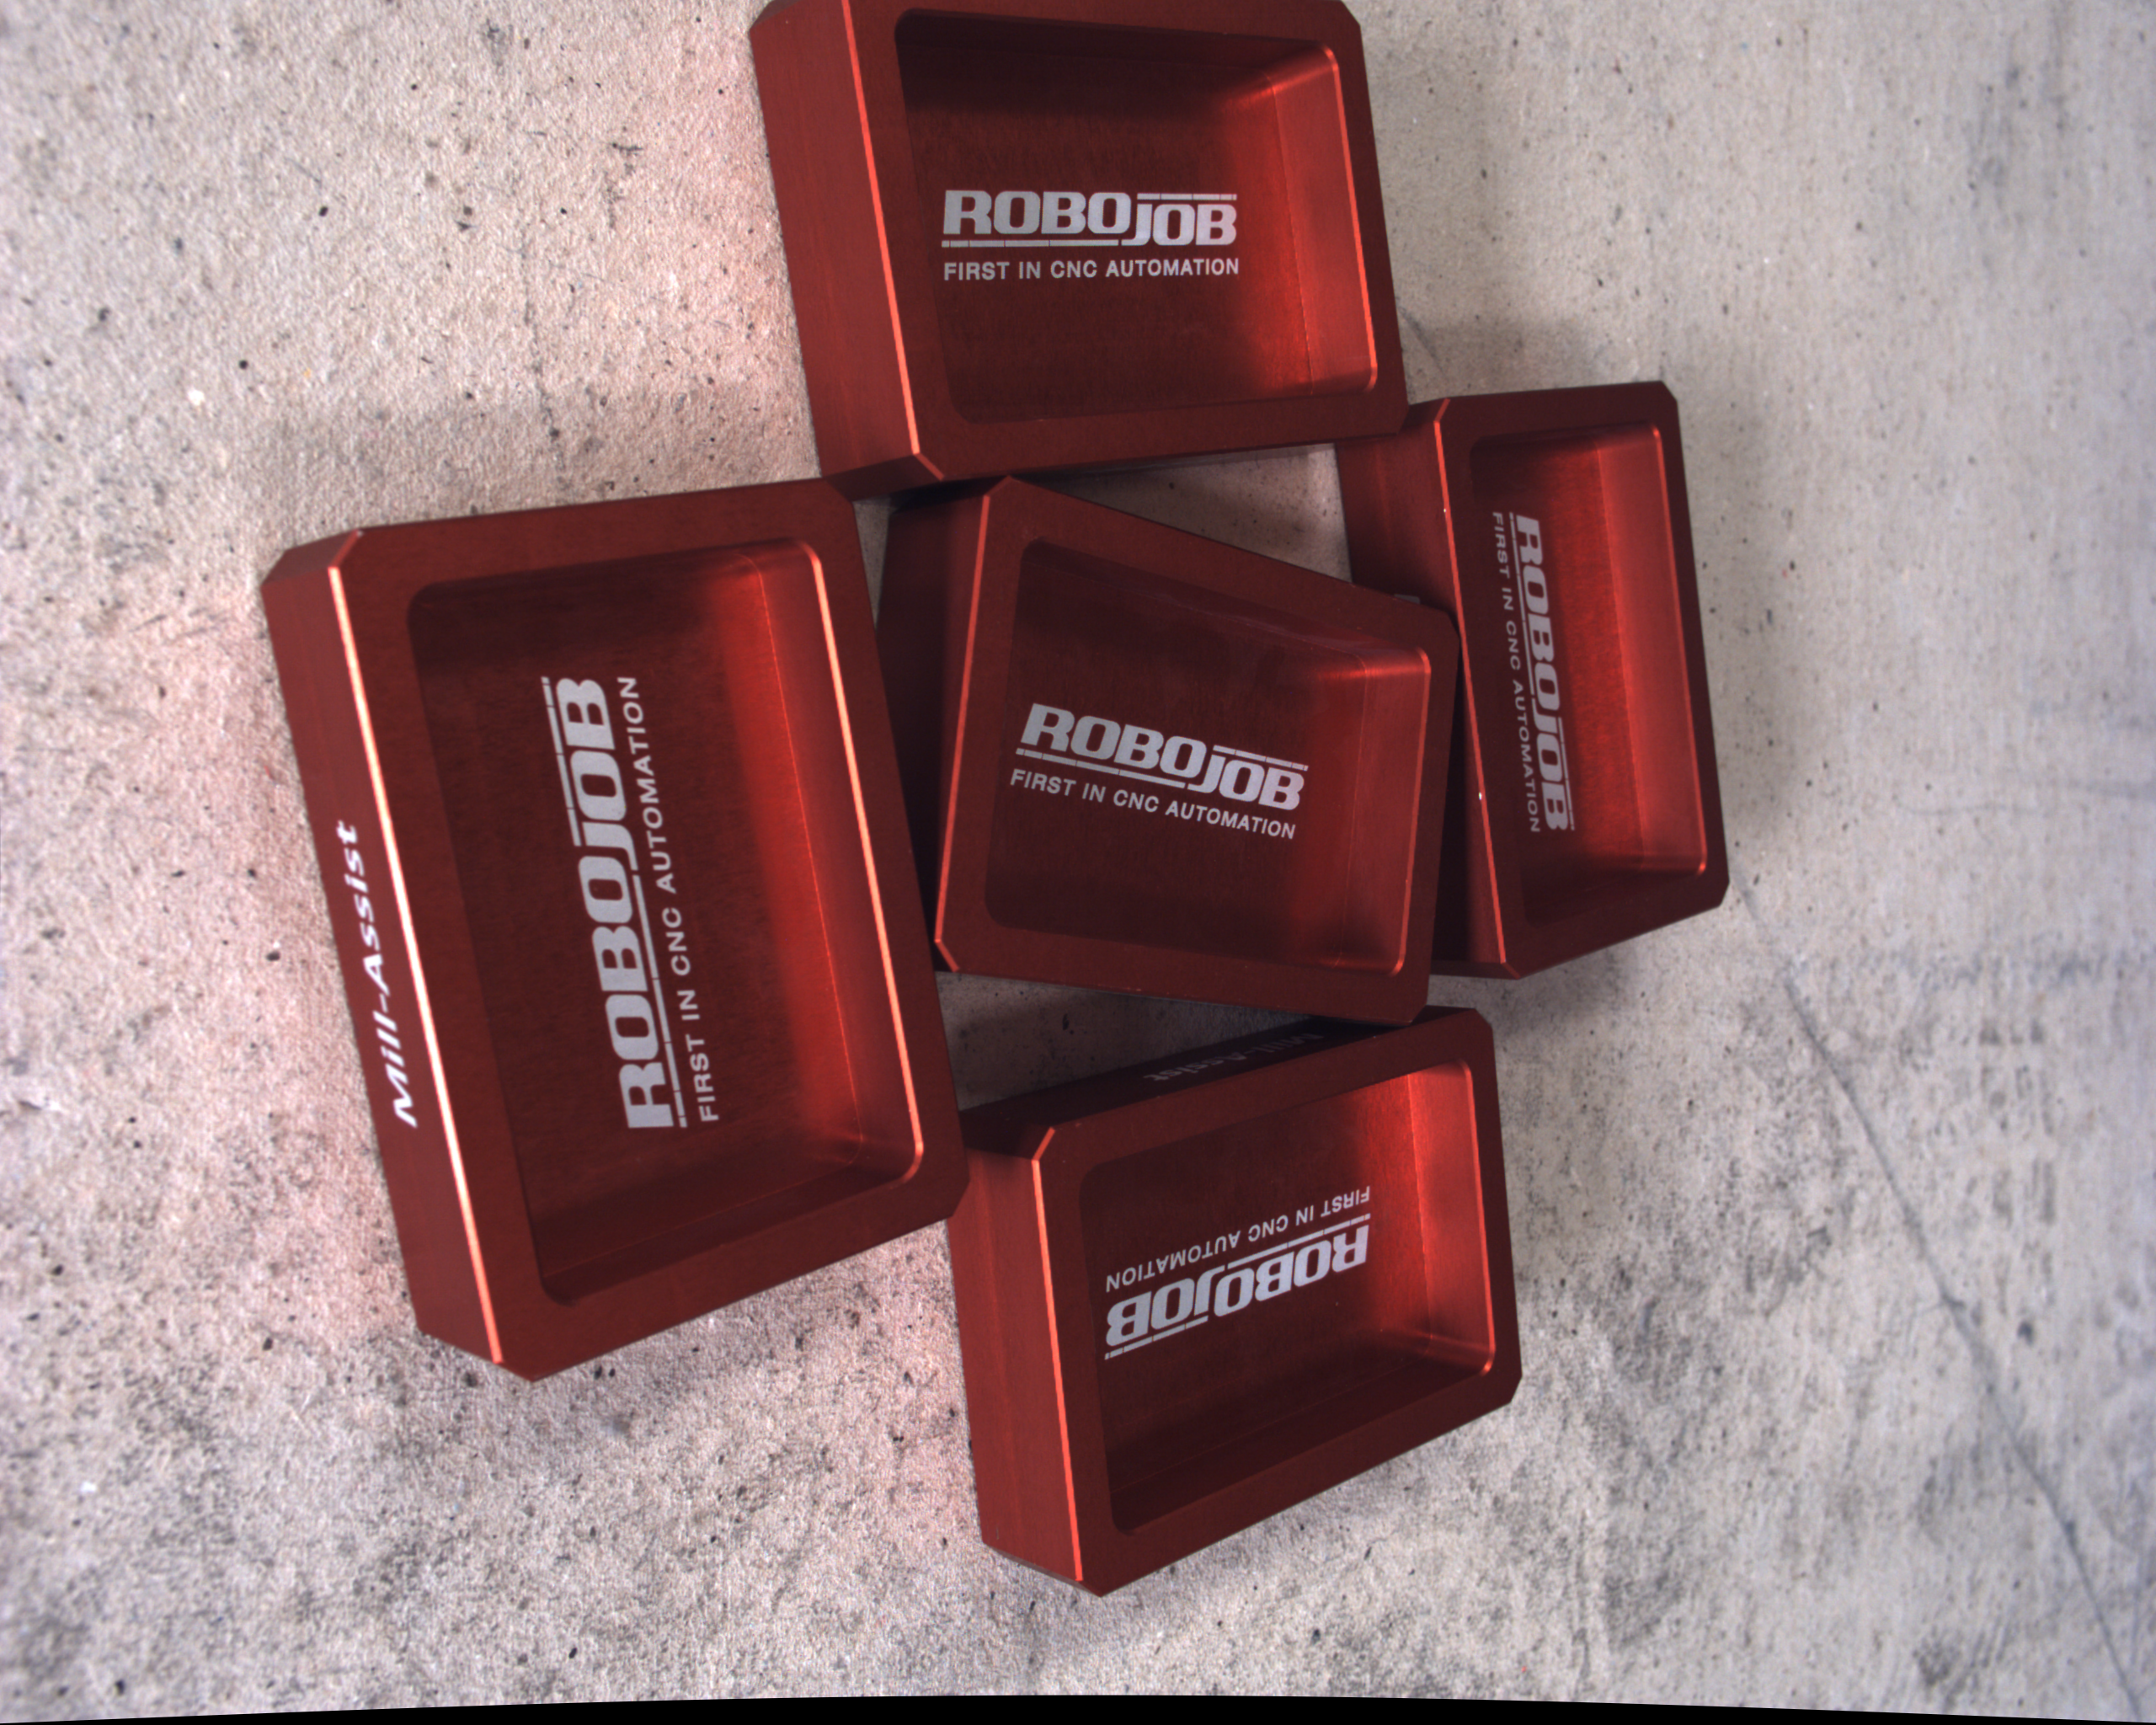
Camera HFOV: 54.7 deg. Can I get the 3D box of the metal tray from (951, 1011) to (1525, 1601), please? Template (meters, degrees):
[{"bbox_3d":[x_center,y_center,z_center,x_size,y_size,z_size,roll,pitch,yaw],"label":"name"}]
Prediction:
[{"bbox_3d":[0.037,0.085,0.433,0.131,0.030,0.089,-10,96,-39],"label":"metal tray"}]

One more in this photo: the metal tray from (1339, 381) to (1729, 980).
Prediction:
[{"bbox_3d":[0.110,-0.045,0.495,0.091,0.030,0.129,-14,99,-38],"label":"metal tray"}]

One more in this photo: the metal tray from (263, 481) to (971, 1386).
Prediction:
[{"bbox_3d":[-0.071,0.008,0.343,0.091,0.030,0.129,-15,100,-39],"label":"metal tray"}]

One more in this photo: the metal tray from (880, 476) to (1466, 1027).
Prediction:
[{"bbox_3d":[0.020,-0.018,0.419,0.131,0.030,0.089,10,86,-39],"label":"metal tray"}]

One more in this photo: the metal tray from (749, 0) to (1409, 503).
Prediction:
[{"bbox_3d":[0.006,-0.122,0.407,0.131,0.030,0.089,-14,99,-38],"label":"metal tray"}]
